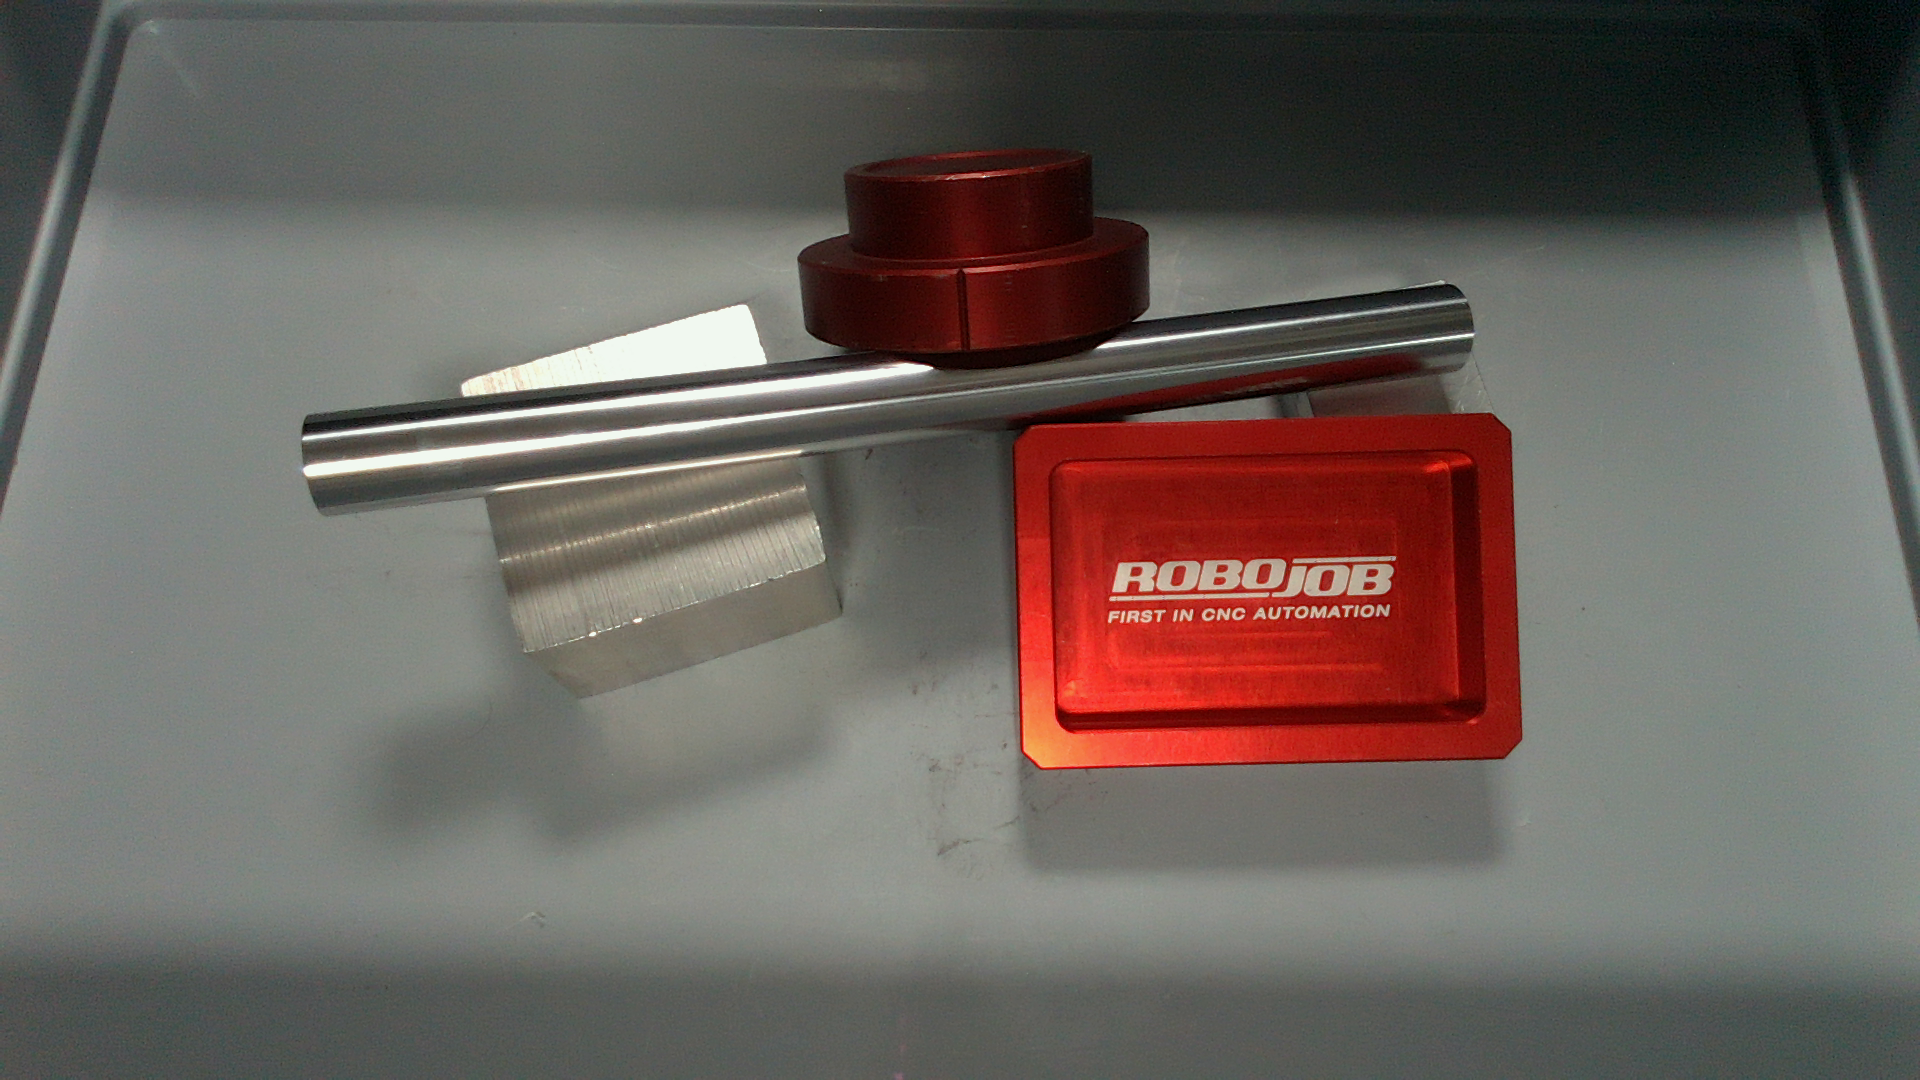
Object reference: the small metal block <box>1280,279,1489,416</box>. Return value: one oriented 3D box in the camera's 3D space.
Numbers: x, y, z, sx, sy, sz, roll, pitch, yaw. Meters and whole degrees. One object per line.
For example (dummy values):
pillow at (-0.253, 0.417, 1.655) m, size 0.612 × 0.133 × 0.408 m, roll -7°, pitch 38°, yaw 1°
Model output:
small metal block at (0.124, -0.046, 0.410) m, size 0.050 × 0.025 × 0.050 m, roll -11°, pitch 70°, yaw -4°

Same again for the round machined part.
round machined part at (0.003, -0.084, 0.383) m, size 0.098 × 0.098 × 0.042 m, roll -4°, pitch 110°, yaw -2°

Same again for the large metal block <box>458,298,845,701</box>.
large metal block at (-0.084, -0.010, 0.383) m, size 0.080 × 0.050 × 0.080 m, roll -17°, pitch 71°, yaw -6°

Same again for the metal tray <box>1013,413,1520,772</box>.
metal tray at (0.080, 0.014, 0.371) m, size 0.130 × 0.030 × 0.090 m, roll -1°, pitch 89°, yaw -1°

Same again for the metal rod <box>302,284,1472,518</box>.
metal rod at (-0.009, -0.039, 0.360) m, size 0.300 × 0.025 × 0.025 m, roll -8°, pitch 70°, yaw -11°
